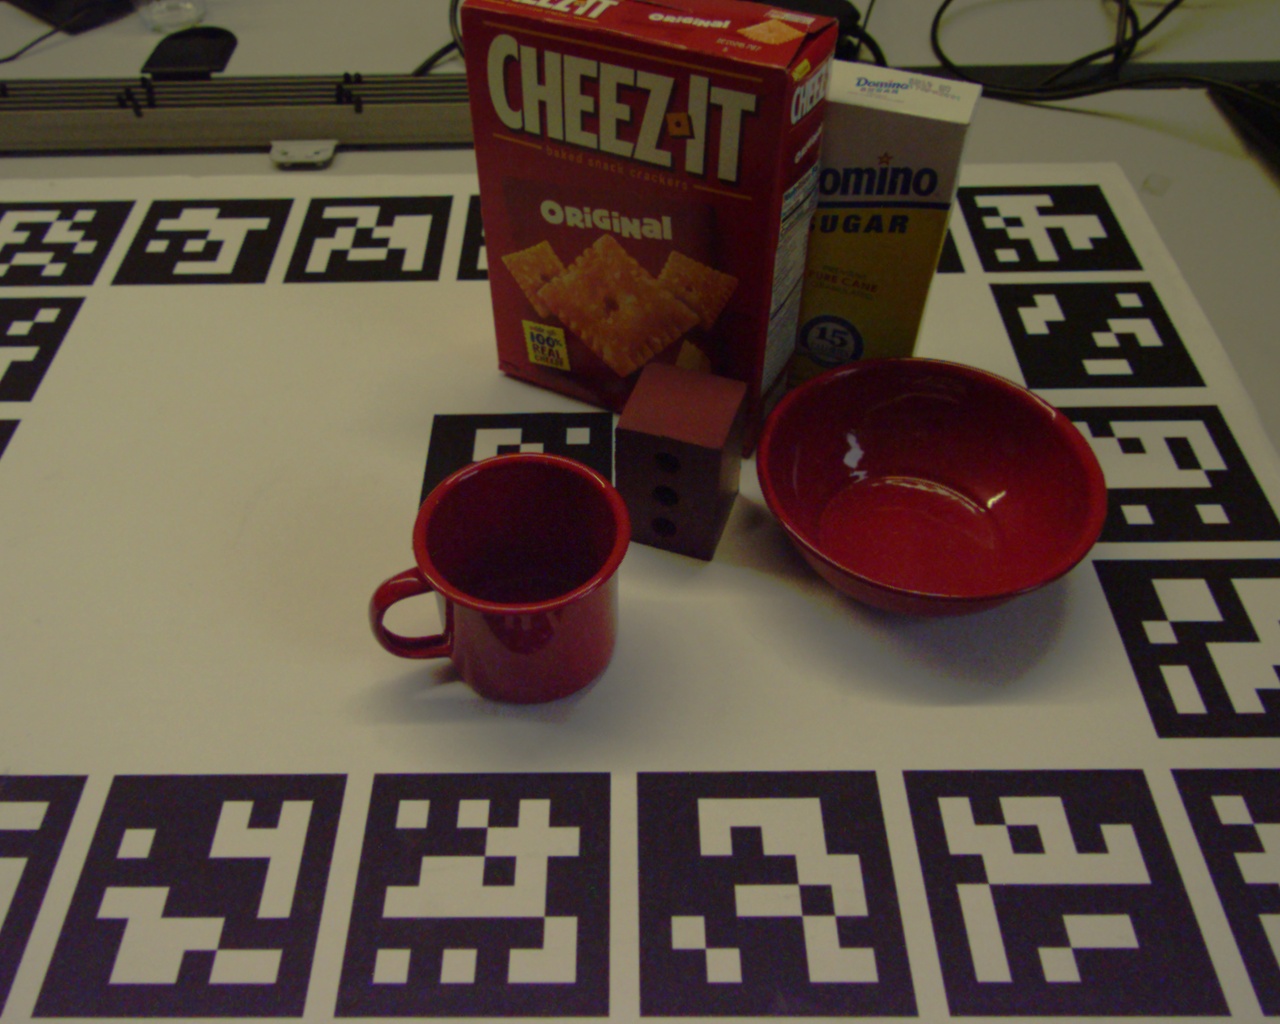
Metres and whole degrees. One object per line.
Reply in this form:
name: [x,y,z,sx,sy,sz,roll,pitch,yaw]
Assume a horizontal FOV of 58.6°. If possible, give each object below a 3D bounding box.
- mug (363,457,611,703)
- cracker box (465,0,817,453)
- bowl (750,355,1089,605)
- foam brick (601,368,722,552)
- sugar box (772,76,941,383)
mug: [-0.069,0.036,0.529,0.117,0.081,0.094,-8,39,-4]
cracker box: [-0.006,-0.149,0.617,0.166,0.213,0.071,23,49,19]
bowl: [0.135,-0.008,0.573,0.162,0.055,0.162,-1,48,0]
foam brick: [0.012,-0.027,0.599,0.053,0.078,0.051,11,47,11]
sugar box: [0.105,-0.149,0.637,0.093,0.176,0.045,15,49,15]
